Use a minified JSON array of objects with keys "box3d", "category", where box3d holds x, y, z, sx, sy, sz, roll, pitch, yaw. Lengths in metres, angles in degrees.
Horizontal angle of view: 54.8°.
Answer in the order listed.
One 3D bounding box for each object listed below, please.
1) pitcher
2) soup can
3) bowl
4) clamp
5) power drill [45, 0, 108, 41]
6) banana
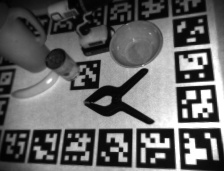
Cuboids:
[{"box3d":[-0.305,-0.162,0.678,0.188,0.245,0.132,-27,63,8],"category":"pitcher"},{"box3d":[-0.171,-0.088,0.690,0.067,0.103,0.067,-8,61,16],"category":"soup can"},{"box3d":[0.053,-0.131,0.657,0.160,0.056,0.161,-5,72,17],"category":"bowl"},{"box3d":[-0.010,0.023,0.629,0.201,0.037,0.165,-6,75,16],"category":"clamp"},{"box3d":[-0.074,-0.206,0.629,0.183,0.189,0.057,-8,70,15],"category":"power drill"},{"box3d":[-0.281,-0.023,0.740,0.197,0.039,0.073,-27,58,6],"category":"banana"}]
